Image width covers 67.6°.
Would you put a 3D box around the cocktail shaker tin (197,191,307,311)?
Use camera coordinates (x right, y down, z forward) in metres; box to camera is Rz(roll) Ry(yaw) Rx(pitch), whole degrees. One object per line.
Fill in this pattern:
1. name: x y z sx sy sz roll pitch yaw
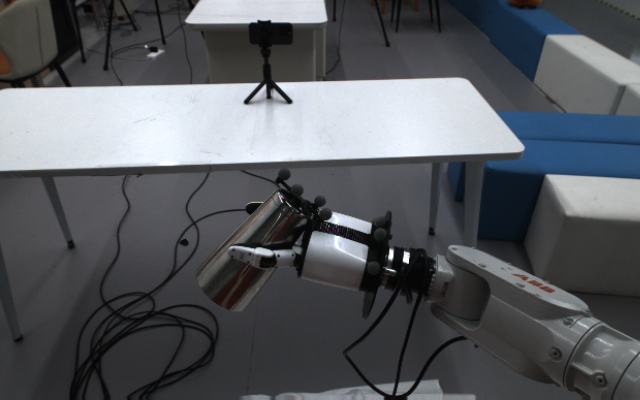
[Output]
1. cocktail shaker tin: -0.088 0.064 0.694 0.093 0.170 0.093 41 12 -11
